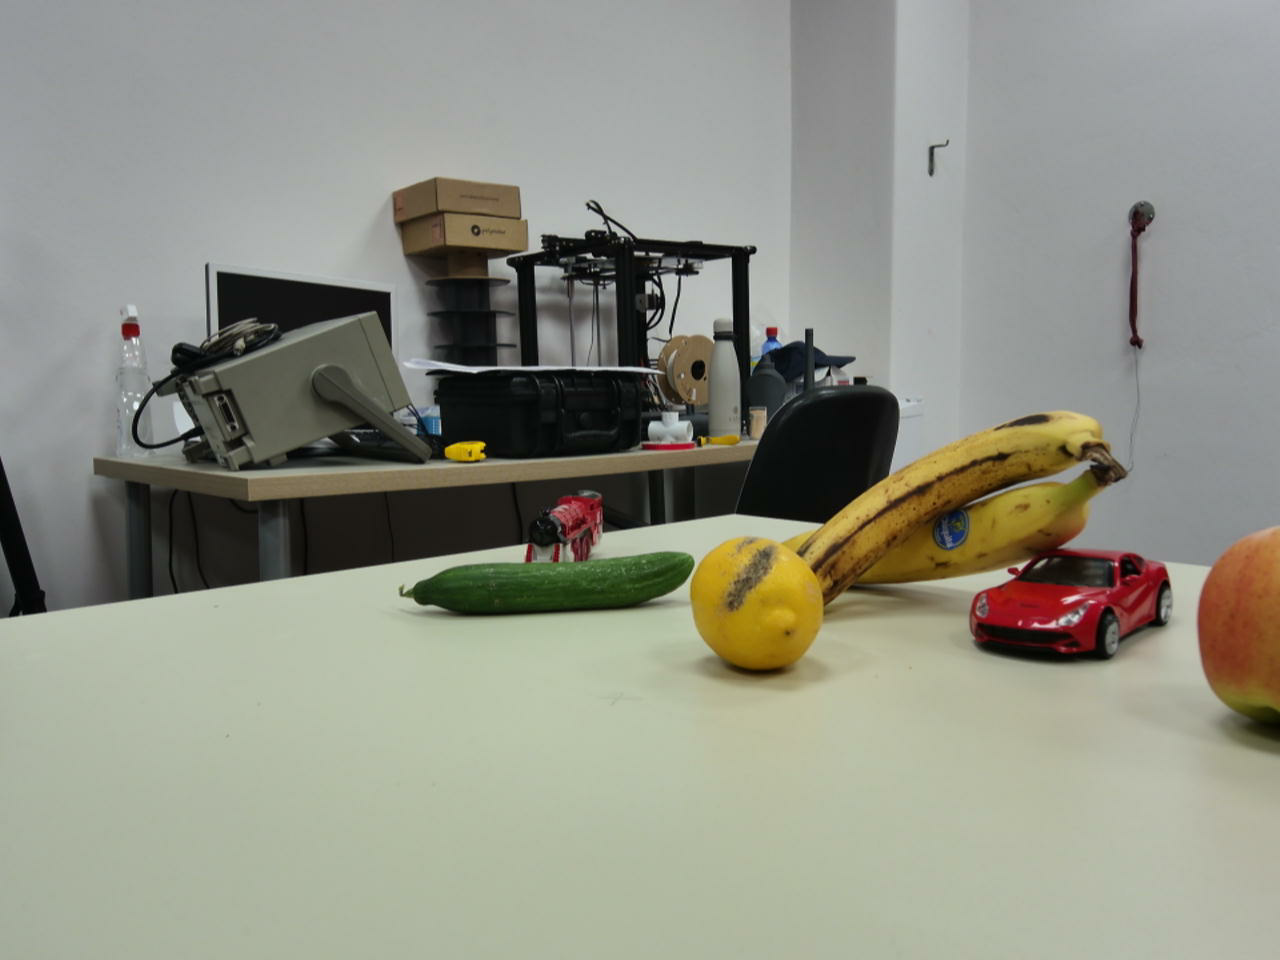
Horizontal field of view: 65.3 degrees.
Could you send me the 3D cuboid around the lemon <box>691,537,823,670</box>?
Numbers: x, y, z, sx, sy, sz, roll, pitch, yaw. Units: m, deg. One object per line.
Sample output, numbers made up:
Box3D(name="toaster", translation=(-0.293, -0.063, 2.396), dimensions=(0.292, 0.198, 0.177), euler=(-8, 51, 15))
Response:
Box3D(name="lemon", translation=(0.052, 0.055, 0.442), dimensions=(0.061, 0.056, 0.058), euler=(3, 4, 42))
